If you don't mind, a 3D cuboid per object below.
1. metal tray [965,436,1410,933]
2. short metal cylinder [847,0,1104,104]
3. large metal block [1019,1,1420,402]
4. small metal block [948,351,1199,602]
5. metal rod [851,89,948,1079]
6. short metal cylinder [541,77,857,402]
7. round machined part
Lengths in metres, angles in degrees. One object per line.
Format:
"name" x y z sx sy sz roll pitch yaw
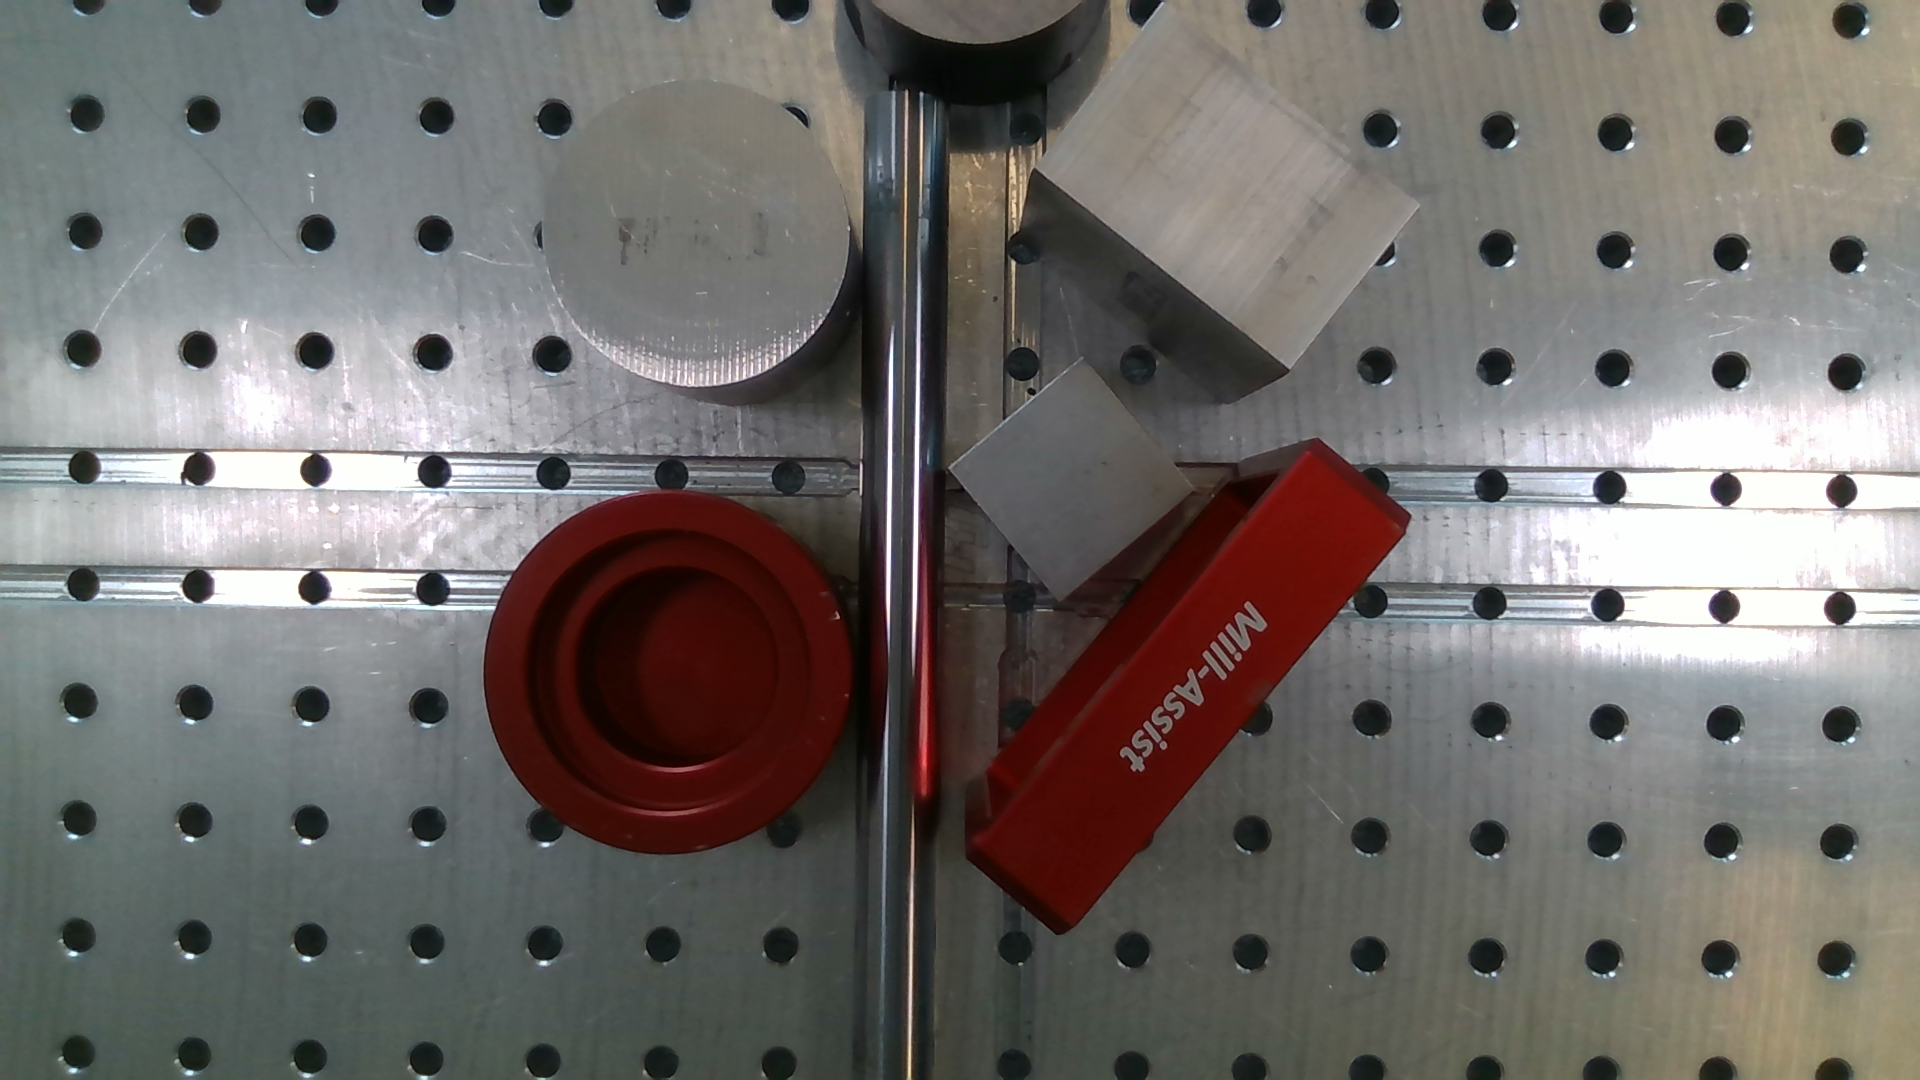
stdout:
"metal tray" 0.054 0.034 0.365 0.030 0.090 0.130 40 90 0
"short metal cylinder" 0.004 -0.170 0.384 0.080 0.050 0.080 0 90 0
"large metal block" 0.064 -0.085 0.370 0.080 0.080 0.050 38 91 0
"small metal block" 0.032 -0.018 0.398 0.050 0.025 0.050 -39 90 0
"metal rod" -0.018 0.024 0.398 0.025 0.025 0.300 1 90 0
"short metal cylinder" -0.069 -0.081 0.384 0.080 0.050 0.080 0 90 0
"round machined part" -0.079 0.035 0.390 0.098 0.042 0.098 0 90 0
